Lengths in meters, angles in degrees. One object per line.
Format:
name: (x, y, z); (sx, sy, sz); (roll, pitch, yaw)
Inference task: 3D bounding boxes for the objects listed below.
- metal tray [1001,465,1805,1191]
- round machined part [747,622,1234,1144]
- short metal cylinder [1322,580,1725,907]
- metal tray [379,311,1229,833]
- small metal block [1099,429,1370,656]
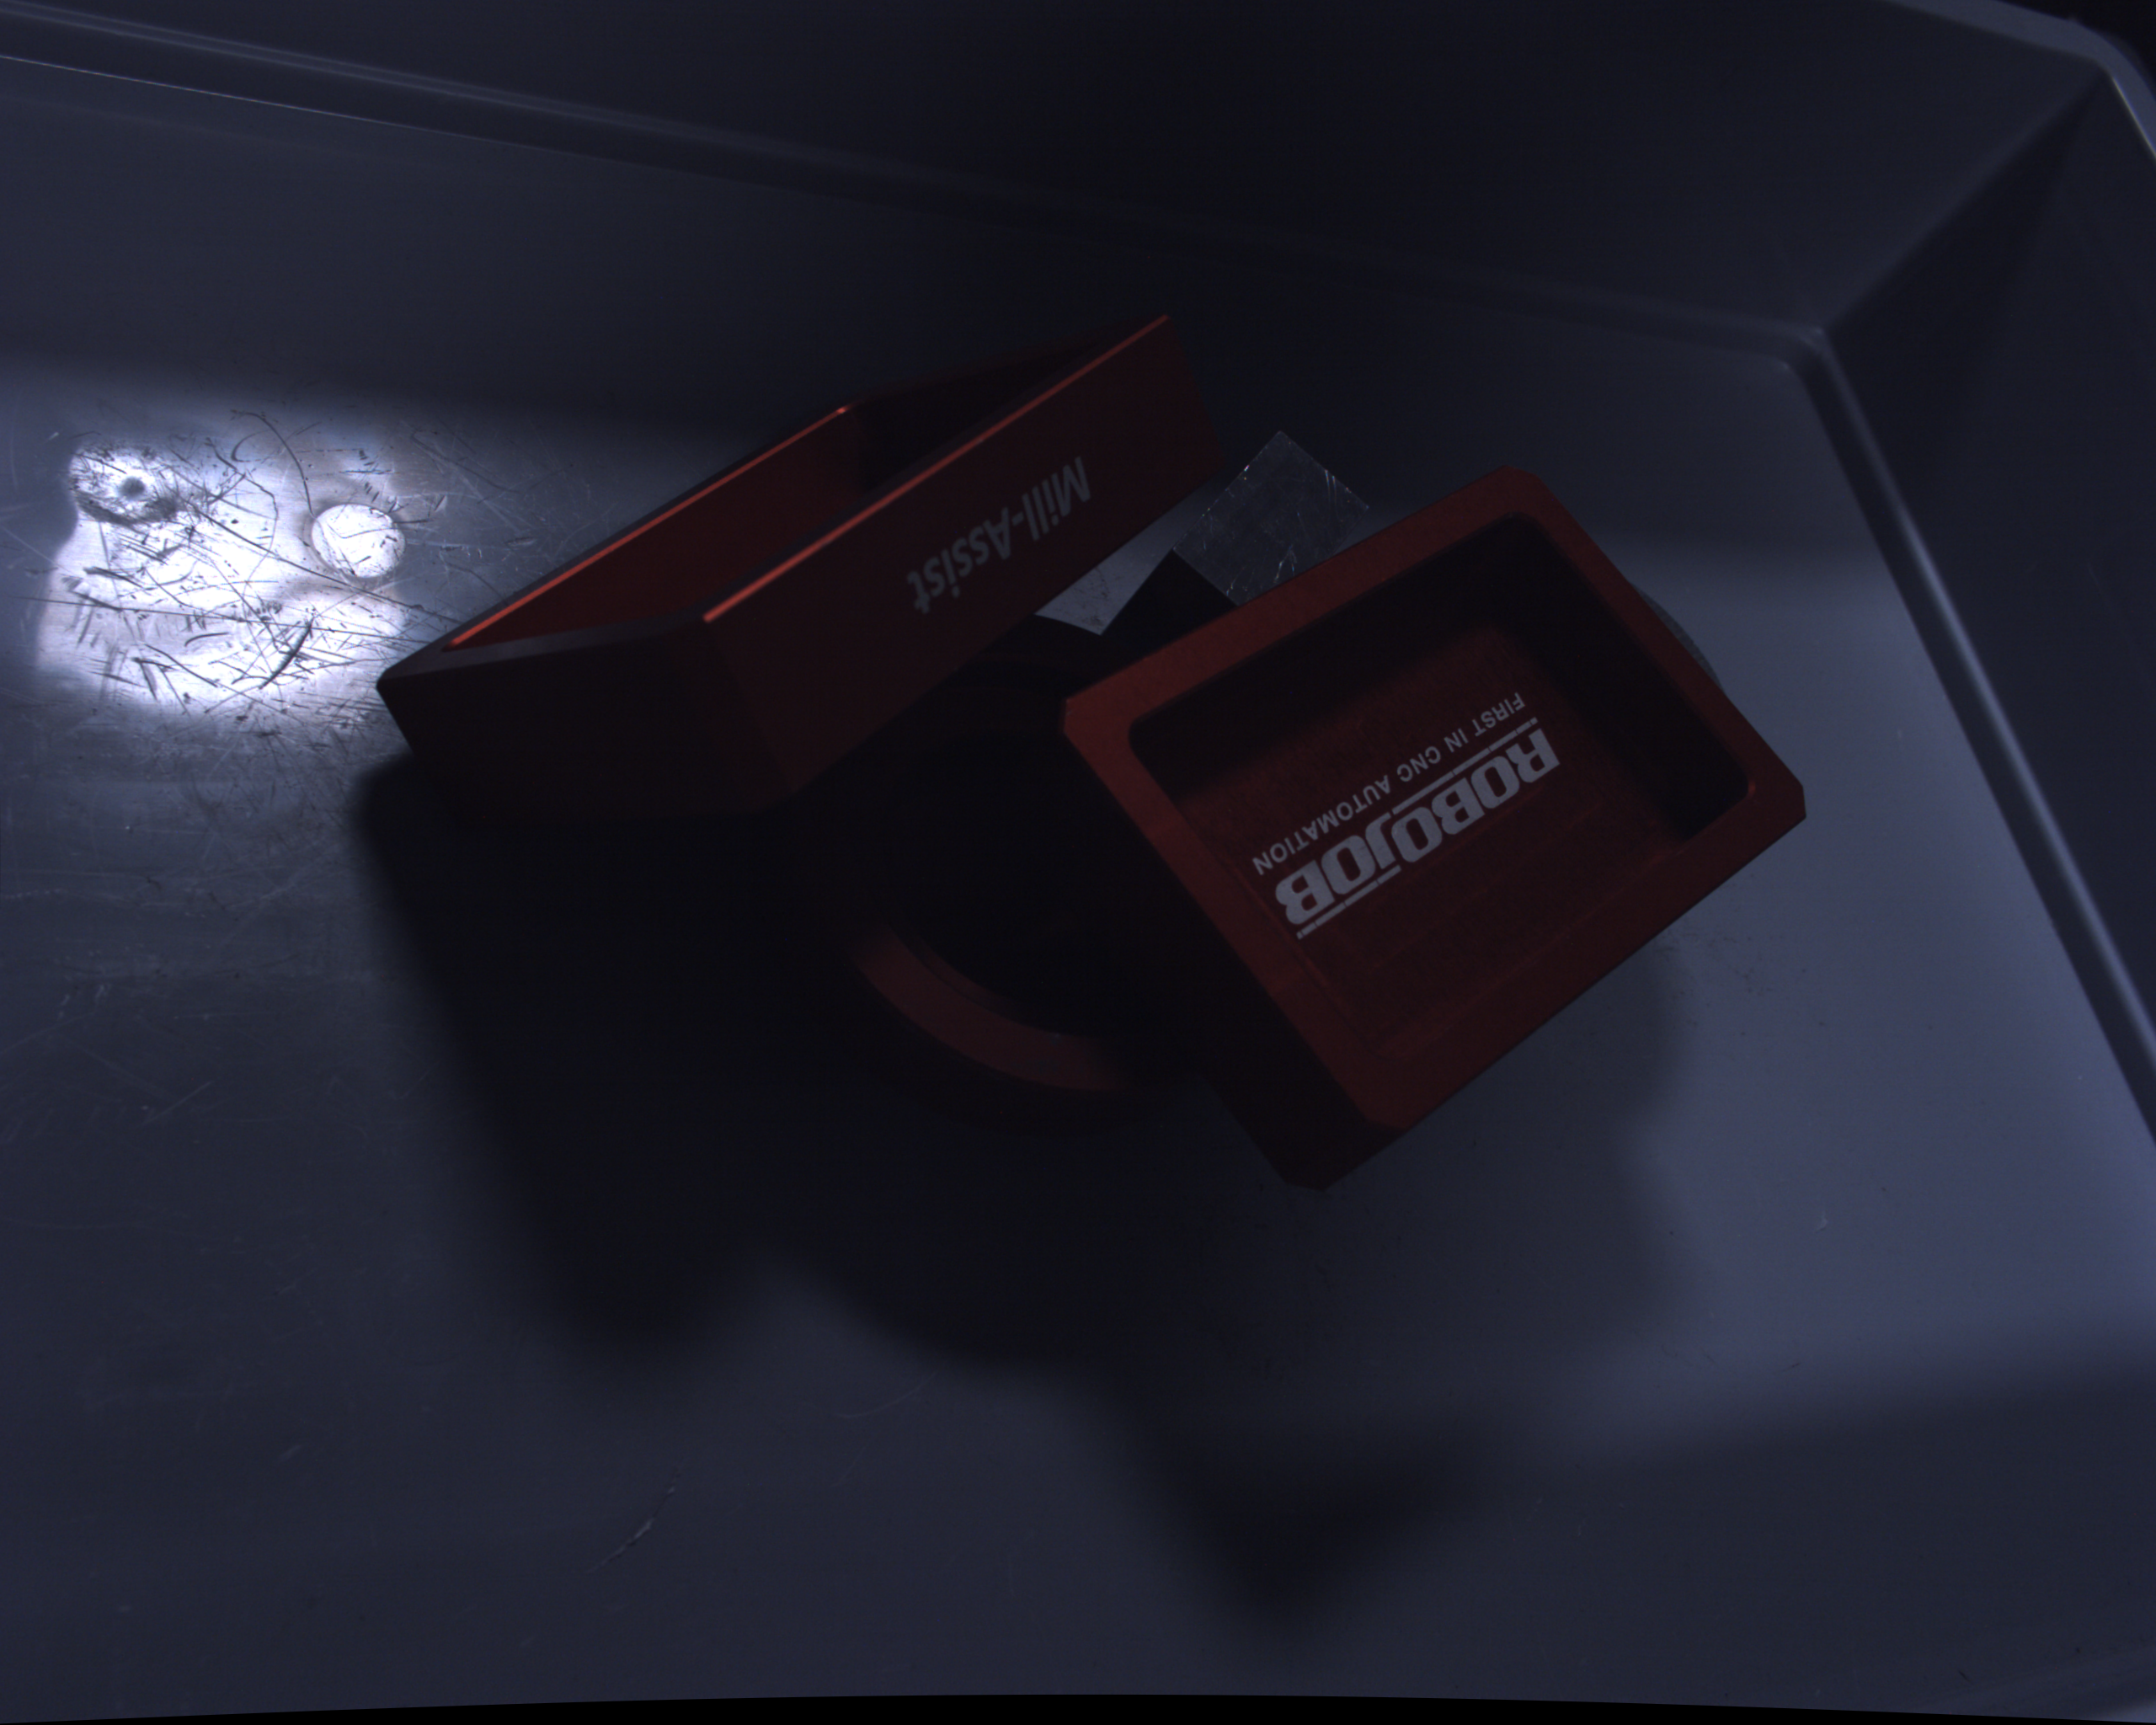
metal tray: (0.063, -0.011, 0.382); (0.131, 0.030, 0.090); (-31, 78, -34)
round machined part: (-0.014, 0.006, 0.384); (0.099, 0.042, 0.098); (14, 56, -21)
short metal cylinder: (0.096, -0.023, 0.455); (0.081, 0.050, 0.080); (14, 56, -21)
metal tray: (-0.045, -0.052, 0.369); (0.131, 0.090, 0.030); (-43, 119, -40)
small metal block: (0.029, -0.056, 0.438); (0.025, 0.050, 0.050); (40, 49, -2)
